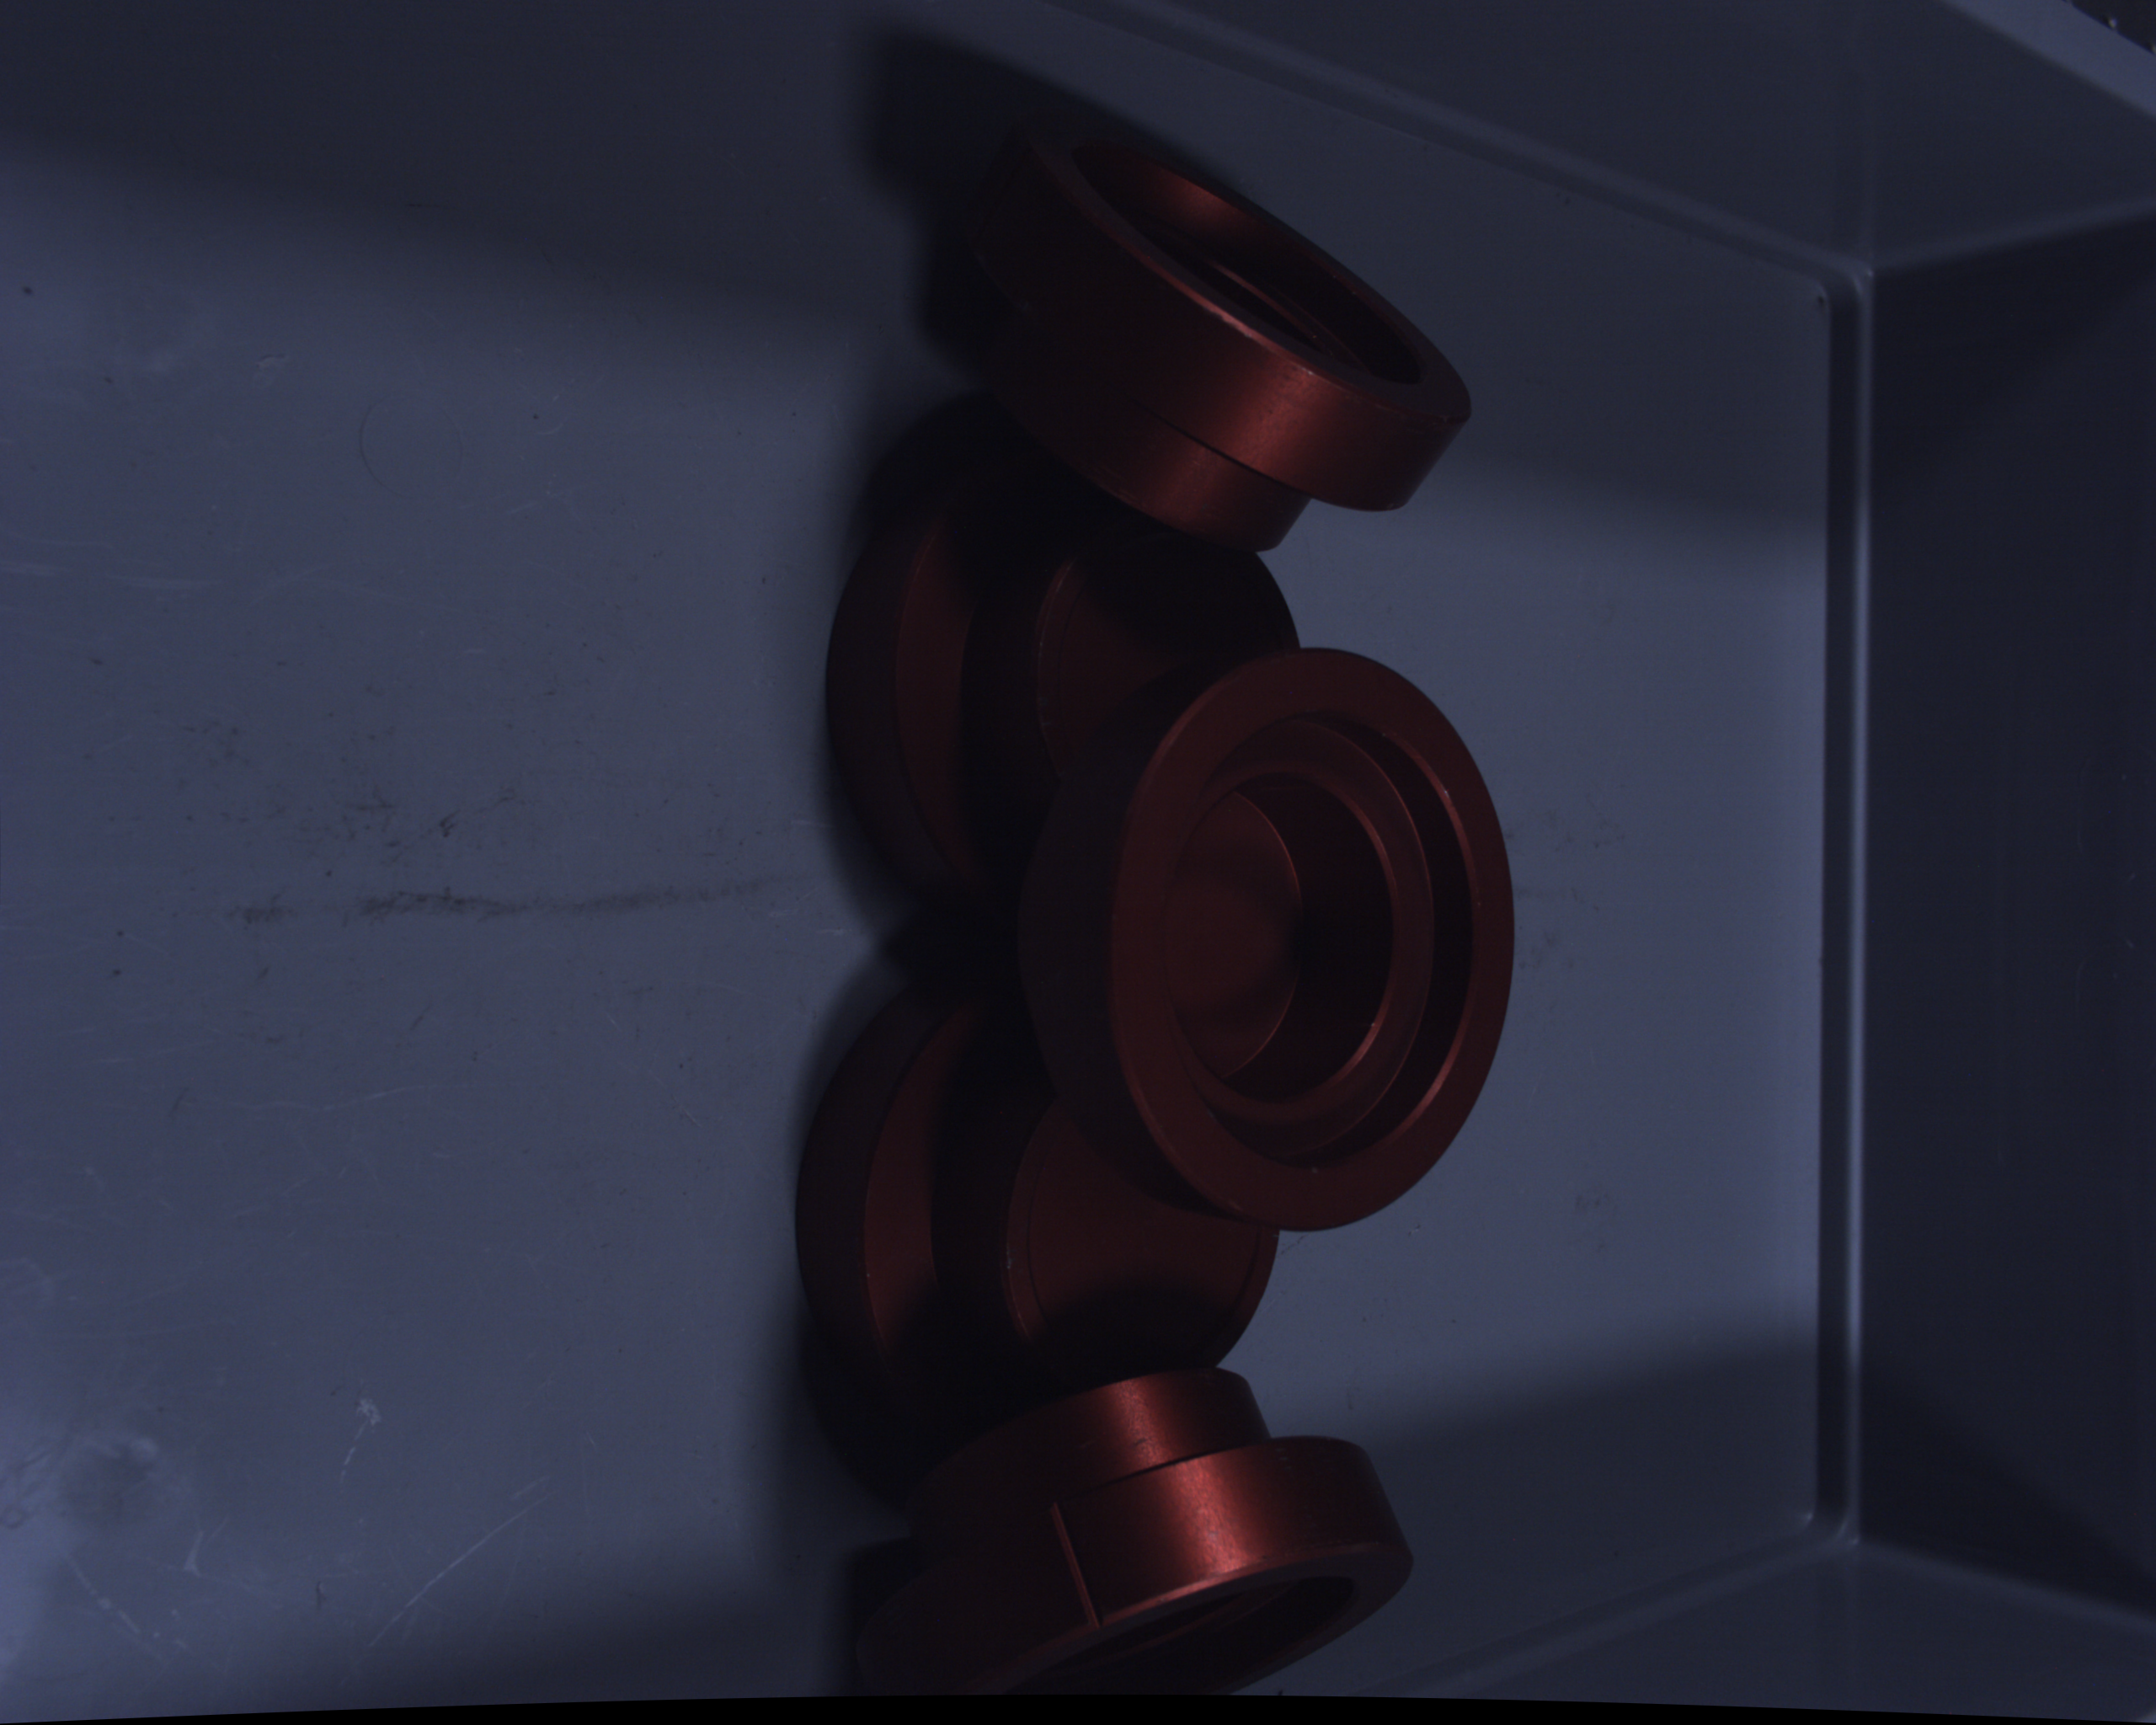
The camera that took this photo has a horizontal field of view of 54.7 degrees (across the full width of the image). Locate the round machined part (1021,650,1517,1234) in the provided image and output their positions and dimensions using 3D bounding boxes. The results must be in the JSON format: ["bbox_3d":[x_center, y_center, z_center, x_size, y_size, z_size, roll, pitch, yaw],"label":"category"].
[{"bbox_3d":[0.029,0.013,0.364,0.099,0.042,0.097,0,90,-40],"label":"round machined part"}]

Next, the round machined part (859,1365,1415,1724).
[{"bbox_3d":[0.008,0.126,0.379,0.099,0.098,0.042,8,47,-40],"label":"round machined part"}]

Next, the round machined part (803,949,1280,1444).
[{"bbox_3d":[0.001,0.065,0.395,0.099,0.042,0.097,0,90,-40],"label":"round machined part"}]

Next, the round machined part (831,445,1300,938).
[{"bbox_3d":[0.005,-0.032,0.399,0.099,0.042,0.097,0,90,-40],"label":"round machined part"}]

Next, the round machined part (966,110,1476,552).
[{"bbox_3d":[0.022,-0.095,0.390,0.099,0.098,0.042,9,127,-40],"label":"round machined part"}]
